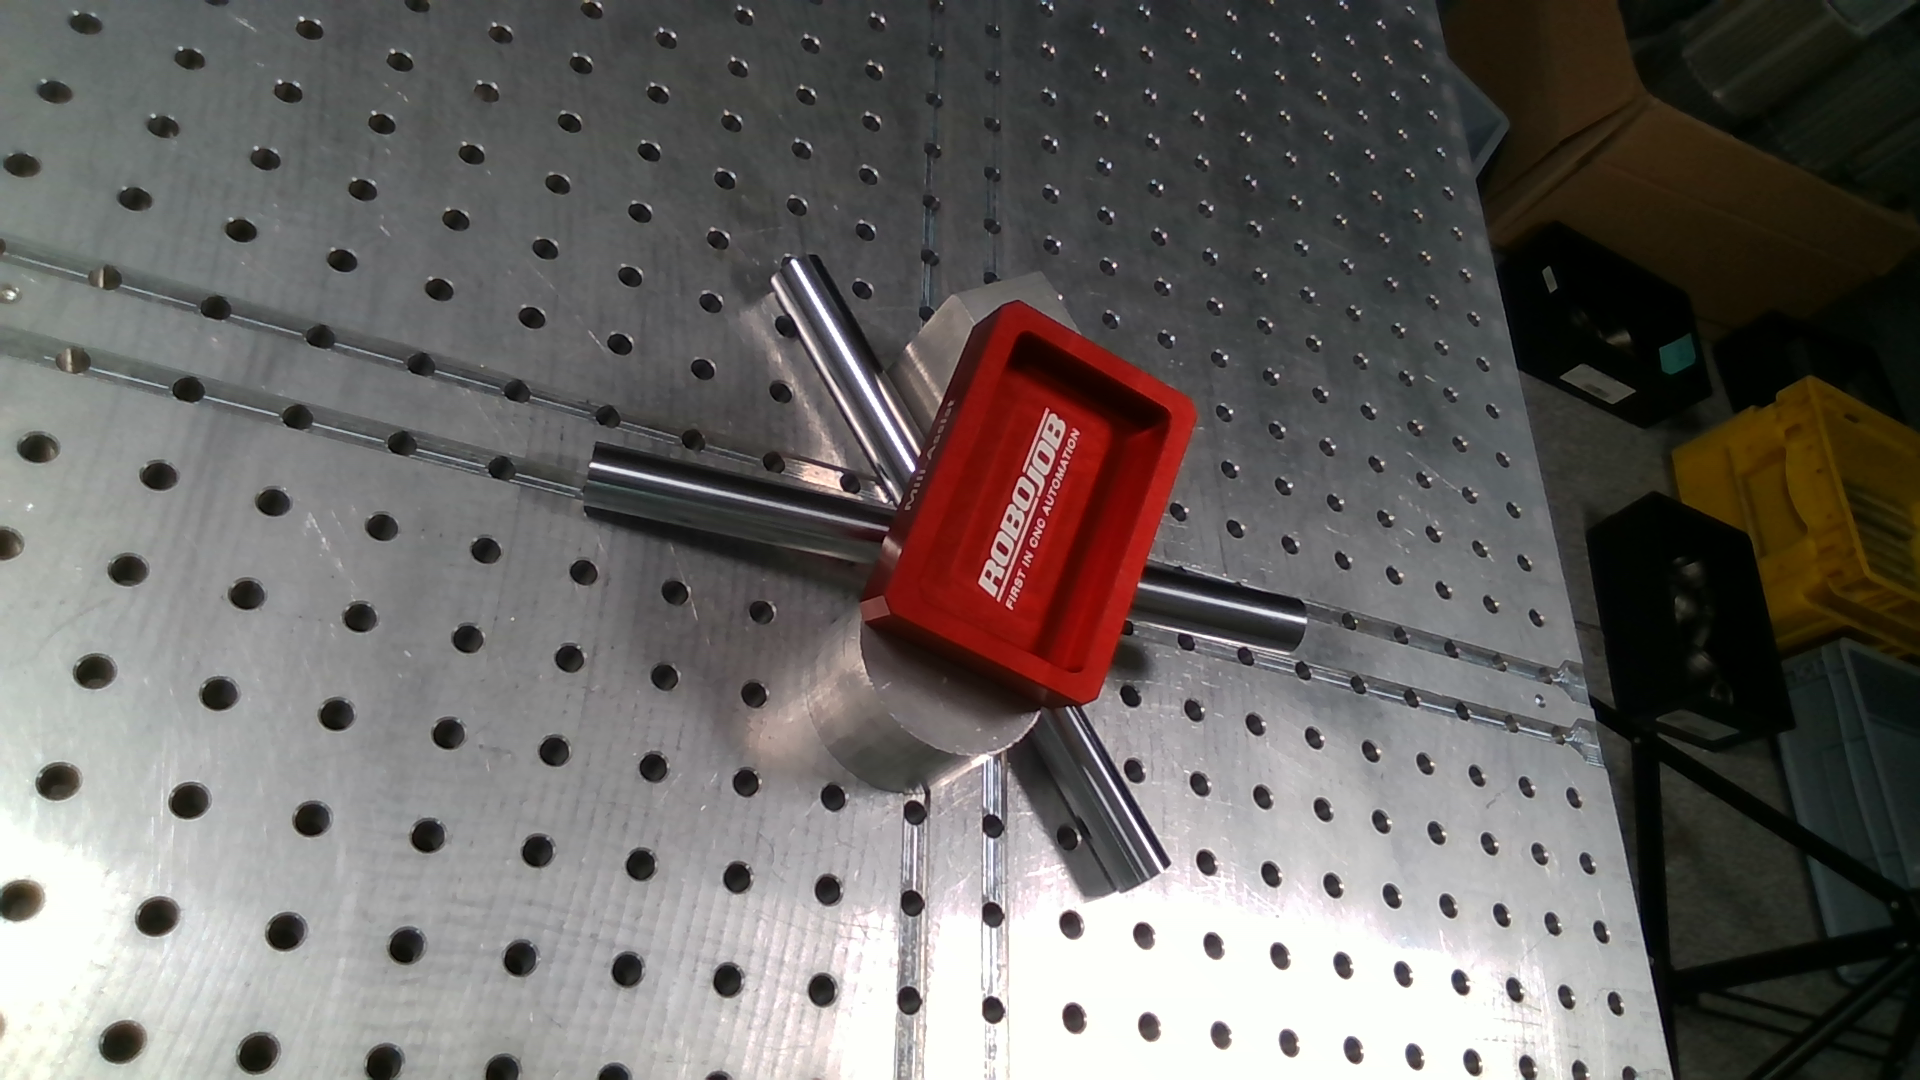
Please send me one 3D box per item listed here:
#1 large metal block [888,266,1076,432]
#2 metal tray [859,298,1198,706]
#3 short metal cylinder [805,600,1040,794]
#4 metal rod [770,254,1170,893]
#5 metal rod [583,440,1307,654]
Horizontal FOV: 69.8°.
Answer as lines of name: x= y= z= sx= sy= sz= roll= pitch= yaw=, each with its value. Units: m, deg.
large metal block: x=0.017 y=-0.058 z=0.594 sx=0.050 sy=0.080 sz=0.080 roll=-23 pitch=79 yaw=-38
metal tray: x=0.028 y=-0.013 z=0.519 sx=0.090 sy=0.030 sz=0.130 roll=27 pitch=73 yaw=-17
short metal cylinder: x=-0.013 y=0.053 z=0.535 sx=0.080 sy=0.050 sz=0.080 roll=14 pitch=59 yaw=-25
metal rod: x=0.001 y=0.009 z=0.585 sx=0.025 sy=0.025 sz=0.300 roll=-23 pitch=79 yaw=-38
metal rod: x=0.002 y=0.006 z=0.558 sx=0.300 sy=0.025 sz=0.025 roll=13 pitch=59 yaw=-15
